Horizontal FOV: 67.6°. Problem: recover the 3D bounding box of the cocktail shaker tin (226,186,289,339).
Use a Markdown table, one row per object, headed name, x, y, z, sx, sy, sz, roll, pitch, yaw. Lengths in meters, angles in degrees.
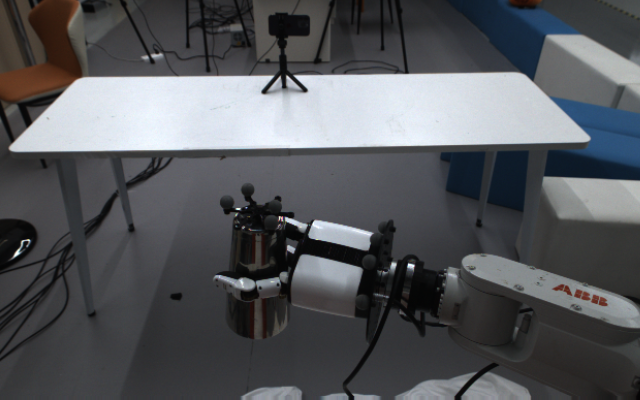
| name | x | y | z | sx | sy | sz | roll | pitch | yaw |
| --- | --- | --- | --- | --- | --- | --- | --- | --- | --- |
| cocktail shaker tin | -0.082 | 0.094 | 0.652 | 0.093 | 0.170 | 0.093 | 3 | 32 | -2 |
